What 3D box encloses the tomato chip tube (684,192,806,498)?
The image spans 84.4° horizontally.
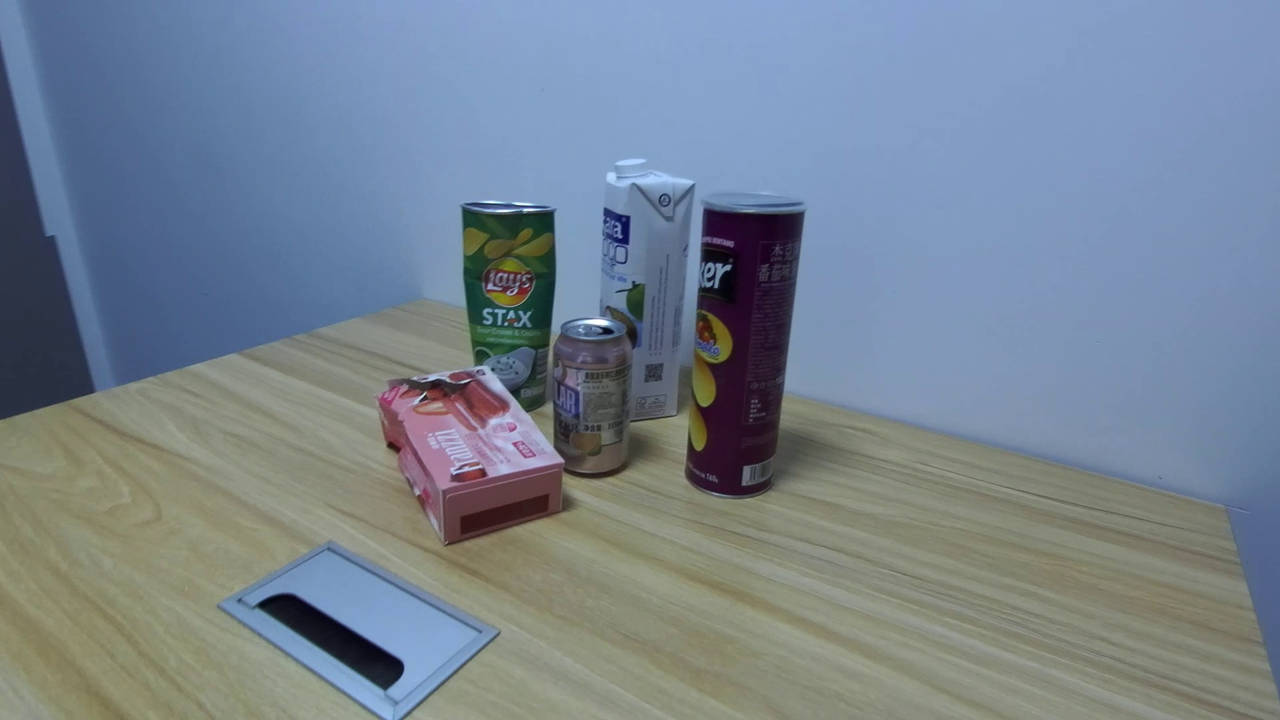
[{"bbox_3d":[0.081,-0.009,0.563,0.078,0.234,0.078,1,22,0],"label":"tomato chip tube"}]

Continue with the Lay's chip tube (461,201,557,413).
[{"bbox_3d":[-0.127,-0.052,0.699,0.075,0.199,0.068,-11,25,-30],"label":"Lay's chip tube"}]

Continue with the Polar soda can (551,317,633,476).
[{"bbox_3d":[-0.041,0.030,0.605,0.067,0.125,0.067,2,22,0],"label":"Polar soda can"}]

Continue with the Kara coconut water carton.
[{"bbox_3d":[0.004,-0.066,0.683,0.075,0.245,0.076,-4,22,-20],"label":"Kara coconut water carton"}]

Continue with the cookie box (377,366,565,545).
[{"bbox_3d":[-0.143,0.068,0.586,0.105,0.059,0.185,-13,27,-29],"label":"cookie box"}]
